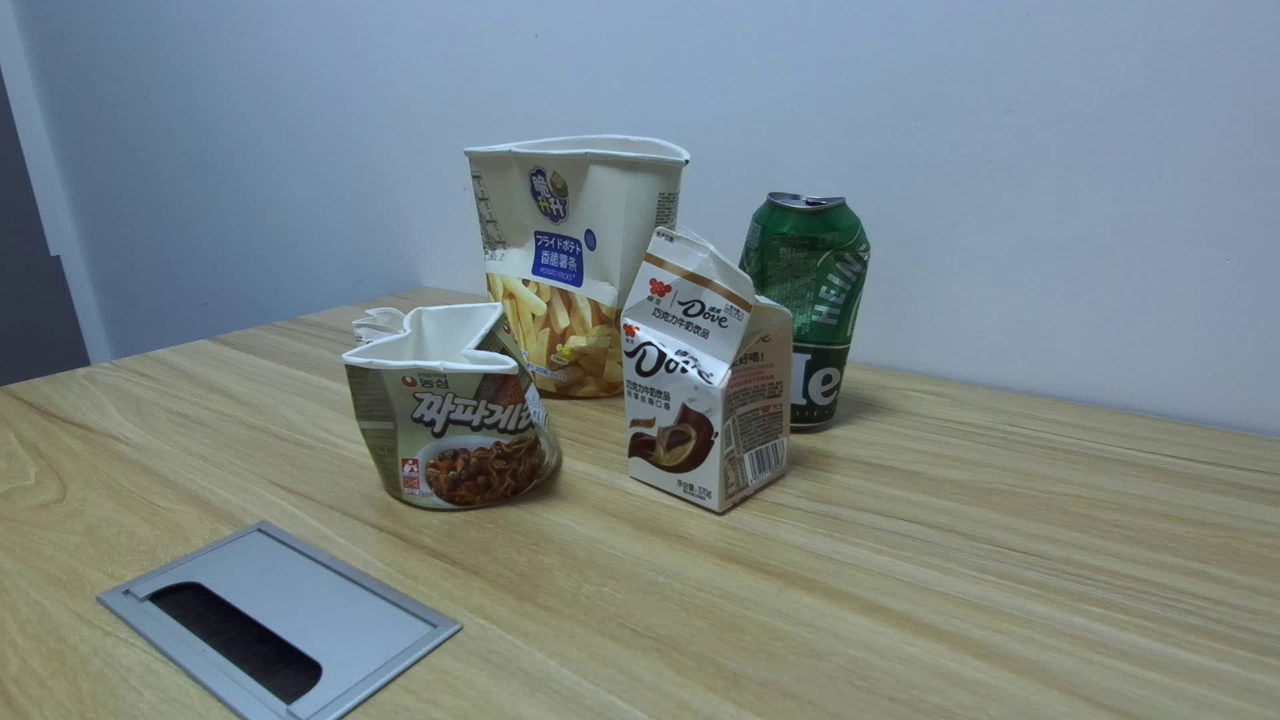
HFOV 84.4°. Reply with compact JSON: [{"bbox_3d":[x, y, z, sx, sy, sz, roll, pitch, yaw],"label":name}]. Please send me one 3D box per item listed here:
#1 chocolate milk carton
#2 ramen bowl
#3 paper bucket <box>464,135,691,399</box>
[{"bbox_3d":[0.040,0.000,0.416,0.076,0.155,0.074,18,29,41],"label":"chocolate milk carton"},{"bbox_3d":[-0.108,0.024,0.449,0.111,0.093,0.128,1,19,6],"label":"ramen bowl"},{"bbox_3d":[-0.054,-0.083,0.597,0.217,0.199,0.148,5,20,15],"label":"paper bucket"}]
